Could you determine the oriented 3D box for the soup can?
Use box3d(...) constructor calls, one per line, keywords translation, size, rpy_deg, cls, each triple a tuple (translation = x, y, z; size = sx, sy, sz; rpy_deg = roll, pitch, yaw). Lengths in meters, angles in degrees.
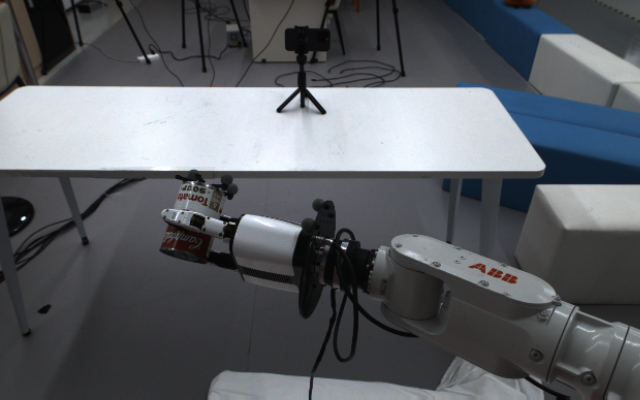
box3d(translation=(-0.178, 0.034, 0.687), size=(0.067, 0.067, 0.101), rpy_deg=(9, 71, 10), cls="soup can")
